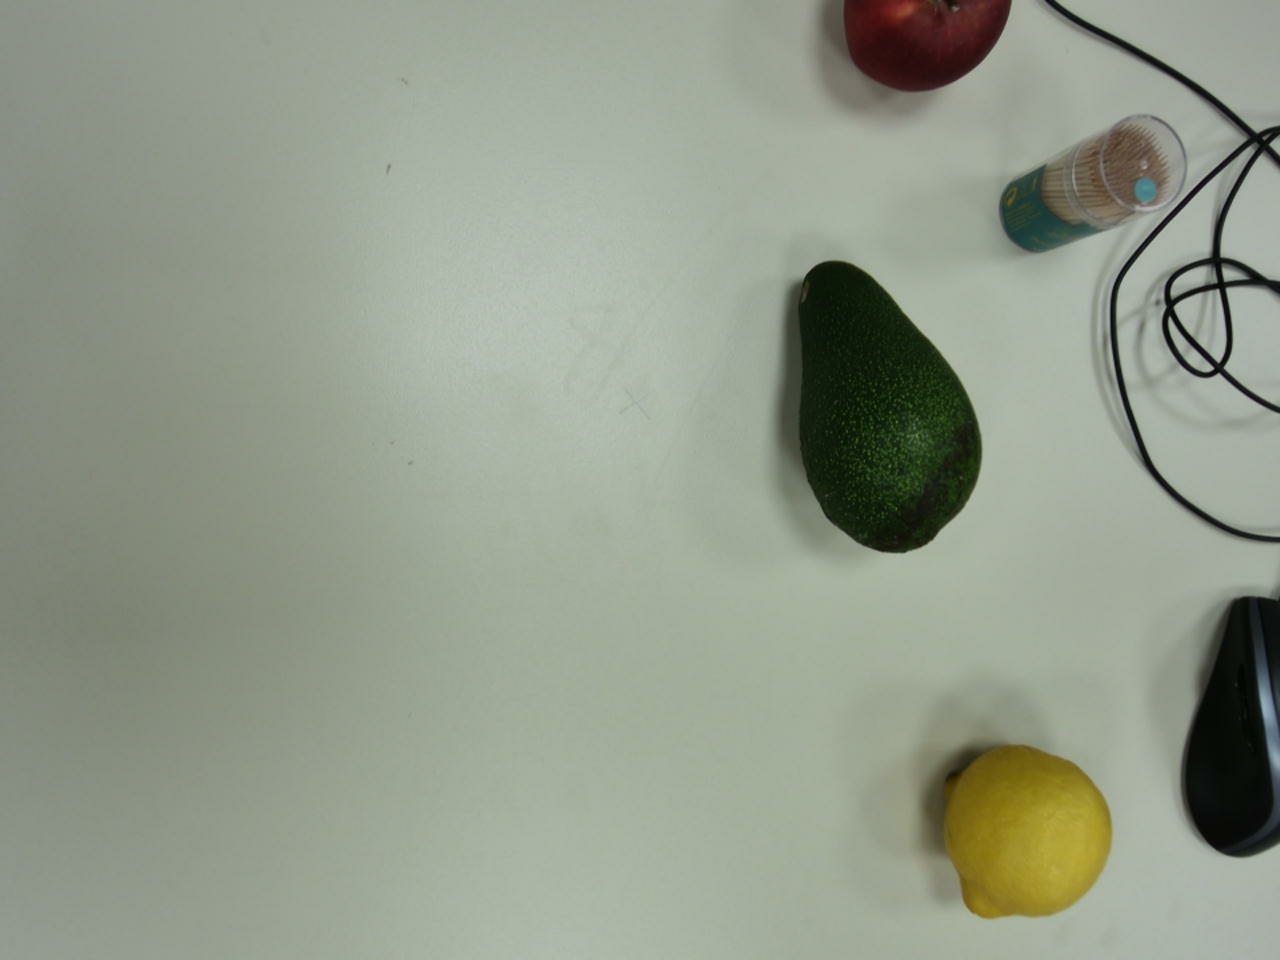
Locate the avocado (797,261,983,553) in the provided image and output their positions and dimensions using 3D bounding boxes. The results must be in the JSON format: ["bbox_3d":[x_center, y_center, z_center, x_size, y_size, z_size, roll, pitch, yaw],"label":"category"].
[{"bbox_3d":[0.105,-0.031,0.418,0.074,0.076,0.123,5,89,-11],"label":"avocado"}]
